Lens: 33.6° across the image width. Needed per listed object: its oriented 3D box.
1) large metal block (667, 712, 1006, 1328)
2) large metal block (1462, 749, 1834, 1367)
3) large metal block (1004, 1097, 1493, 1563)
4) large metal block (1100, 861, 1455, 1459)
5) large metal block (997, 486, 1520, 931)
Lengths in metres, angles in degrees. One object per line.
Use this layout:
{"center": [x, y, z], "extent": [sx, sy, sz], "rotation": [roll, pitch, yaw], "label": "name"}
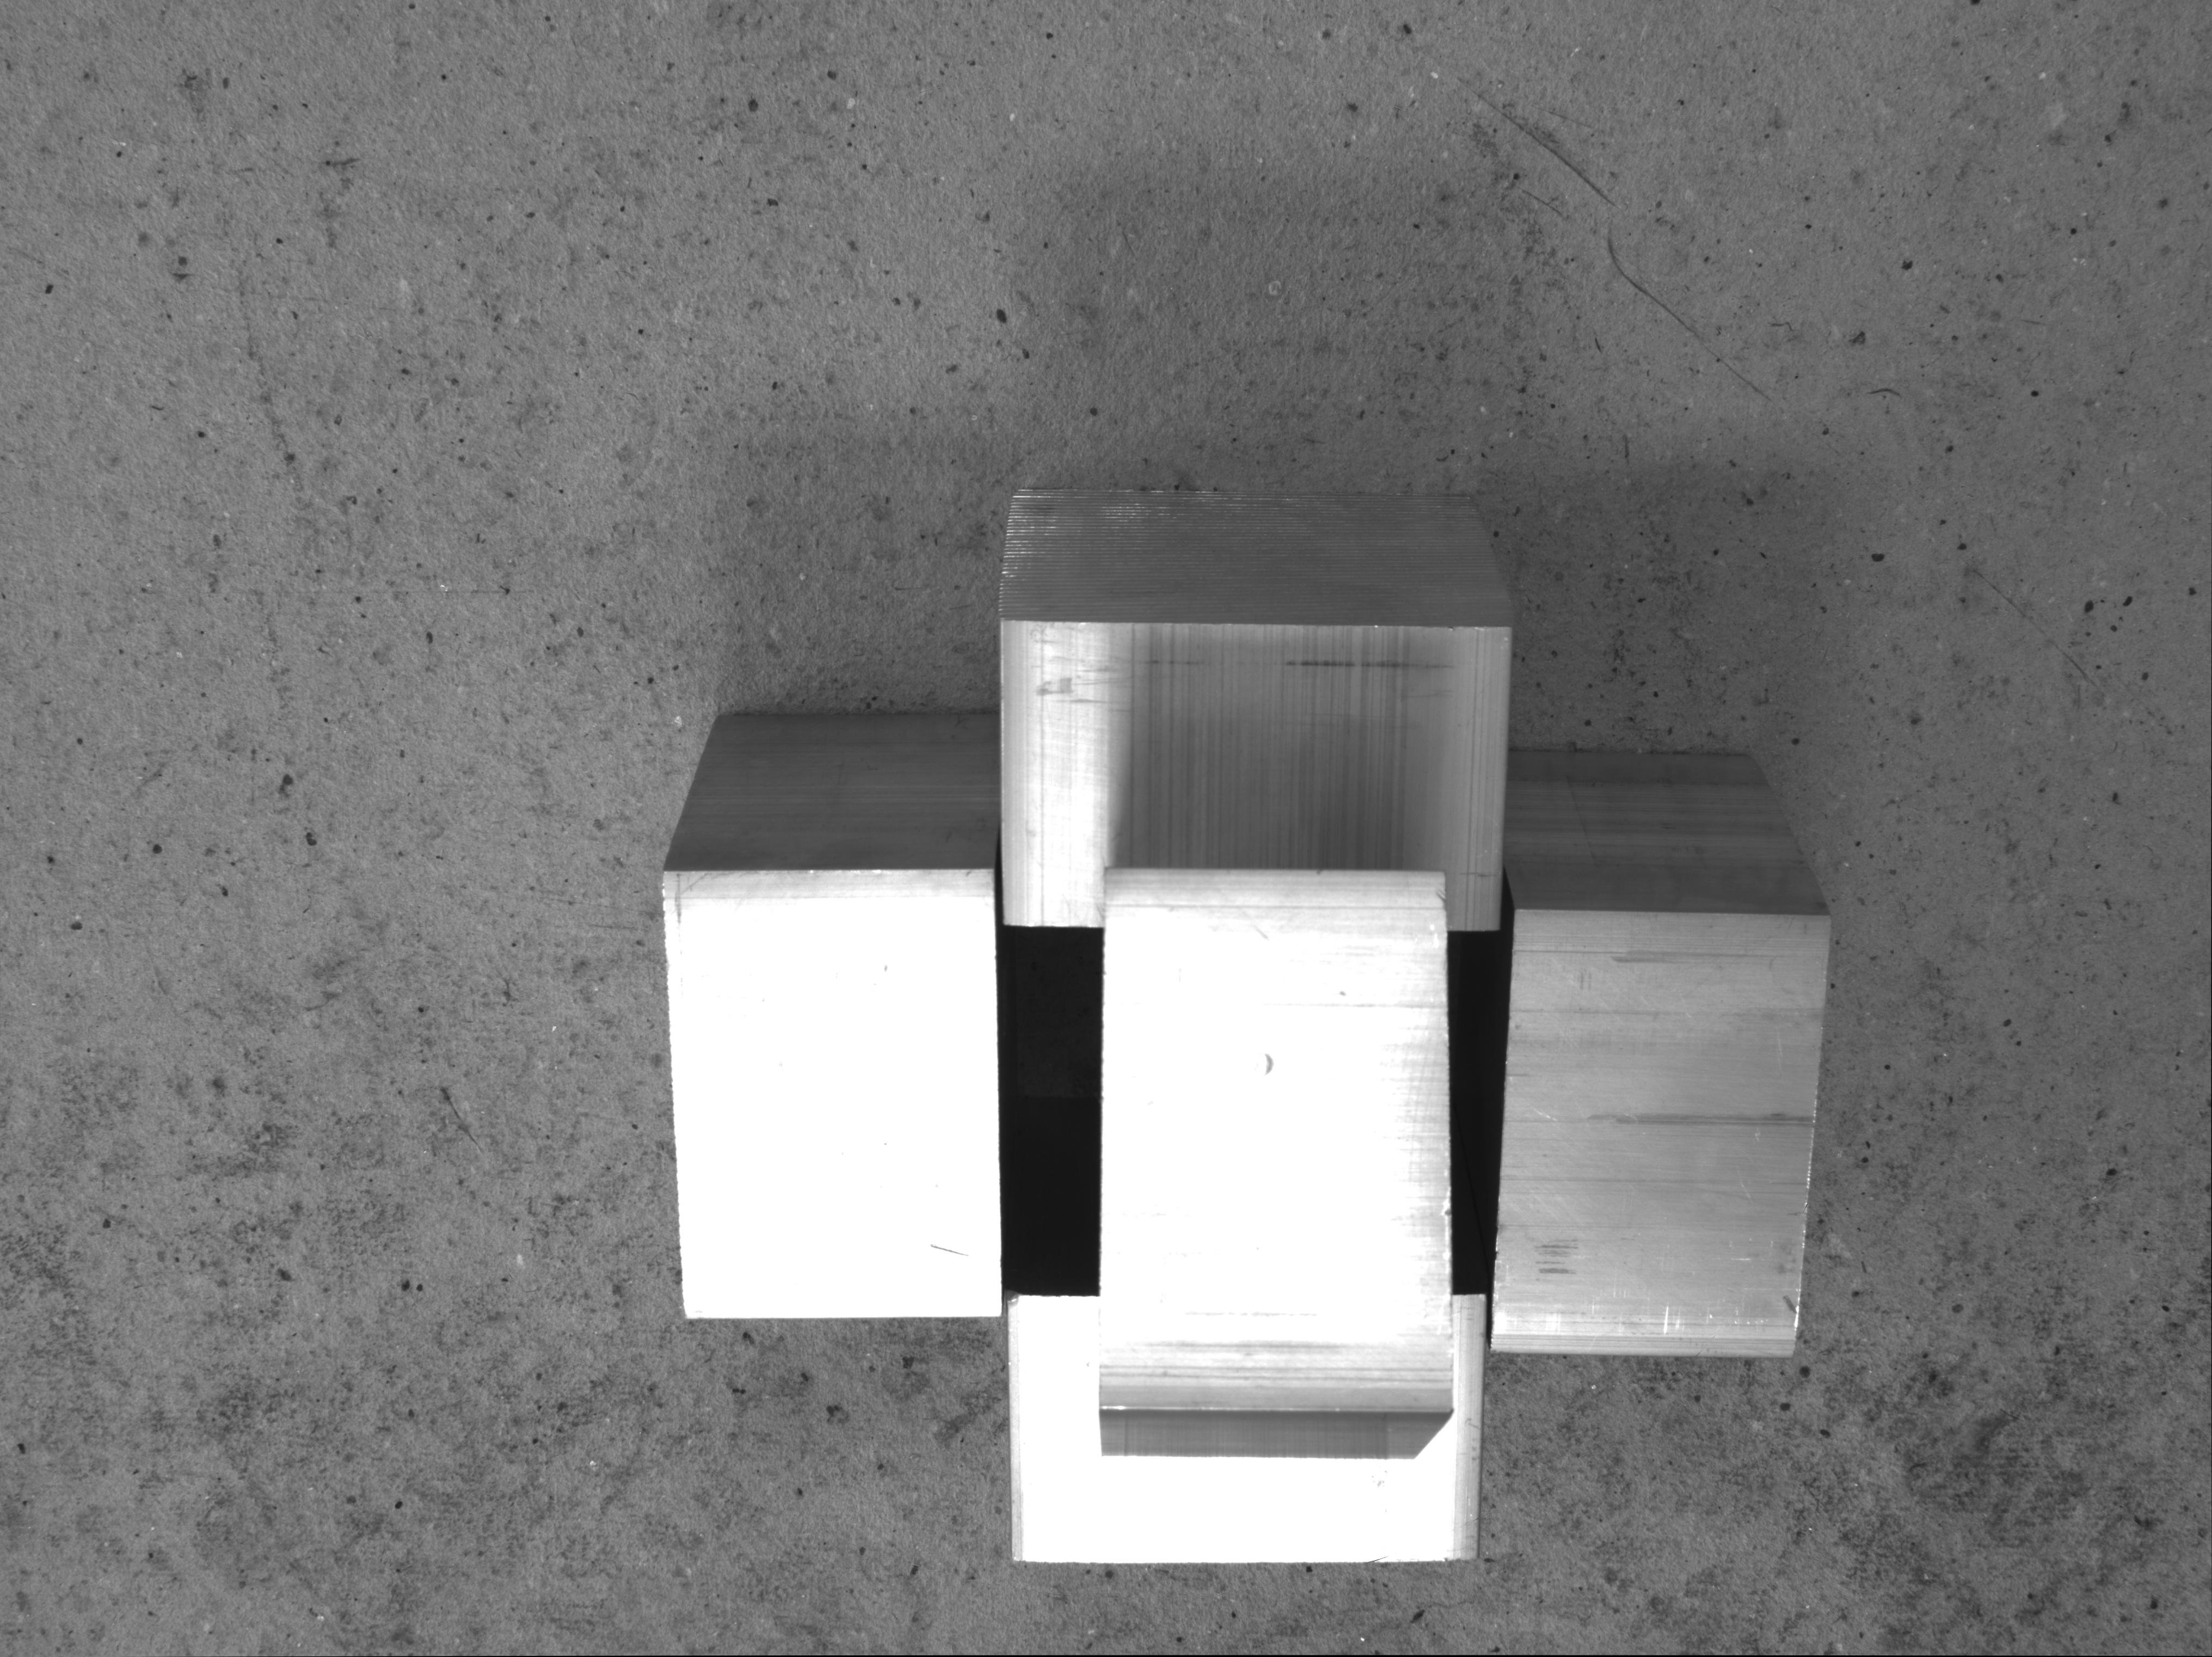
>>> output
{"center": [-0.043, 0.031, 0.624], "extent": [0.050, 0.080, 0.080], "rotation": [0, 110, 0], "label": "large metal block"}
{"center": [0.089, 0.037, 0.628], "extent": [0.050, 0.080, 0.080], "rotation": [1, 110, 0], "label": "large metal block"}
{"center": [0.024, 0.086, 0.646], "extent": [0.080, 0.080, 0.050], "rotation": [0, 110, 0], "label": "large metal block"}
{"center": [0.025, 0.054, 0.565], "extent": [0.050, 0.080, 0.080], "rotation": [1, 76, 0], "label": "large metal block"}
{"center": [0.023, -0.022, 0.607], "extent": [0.080, 0.080, 0.050], "rotation": [1, 110, 0], "label": "large metal block"}
